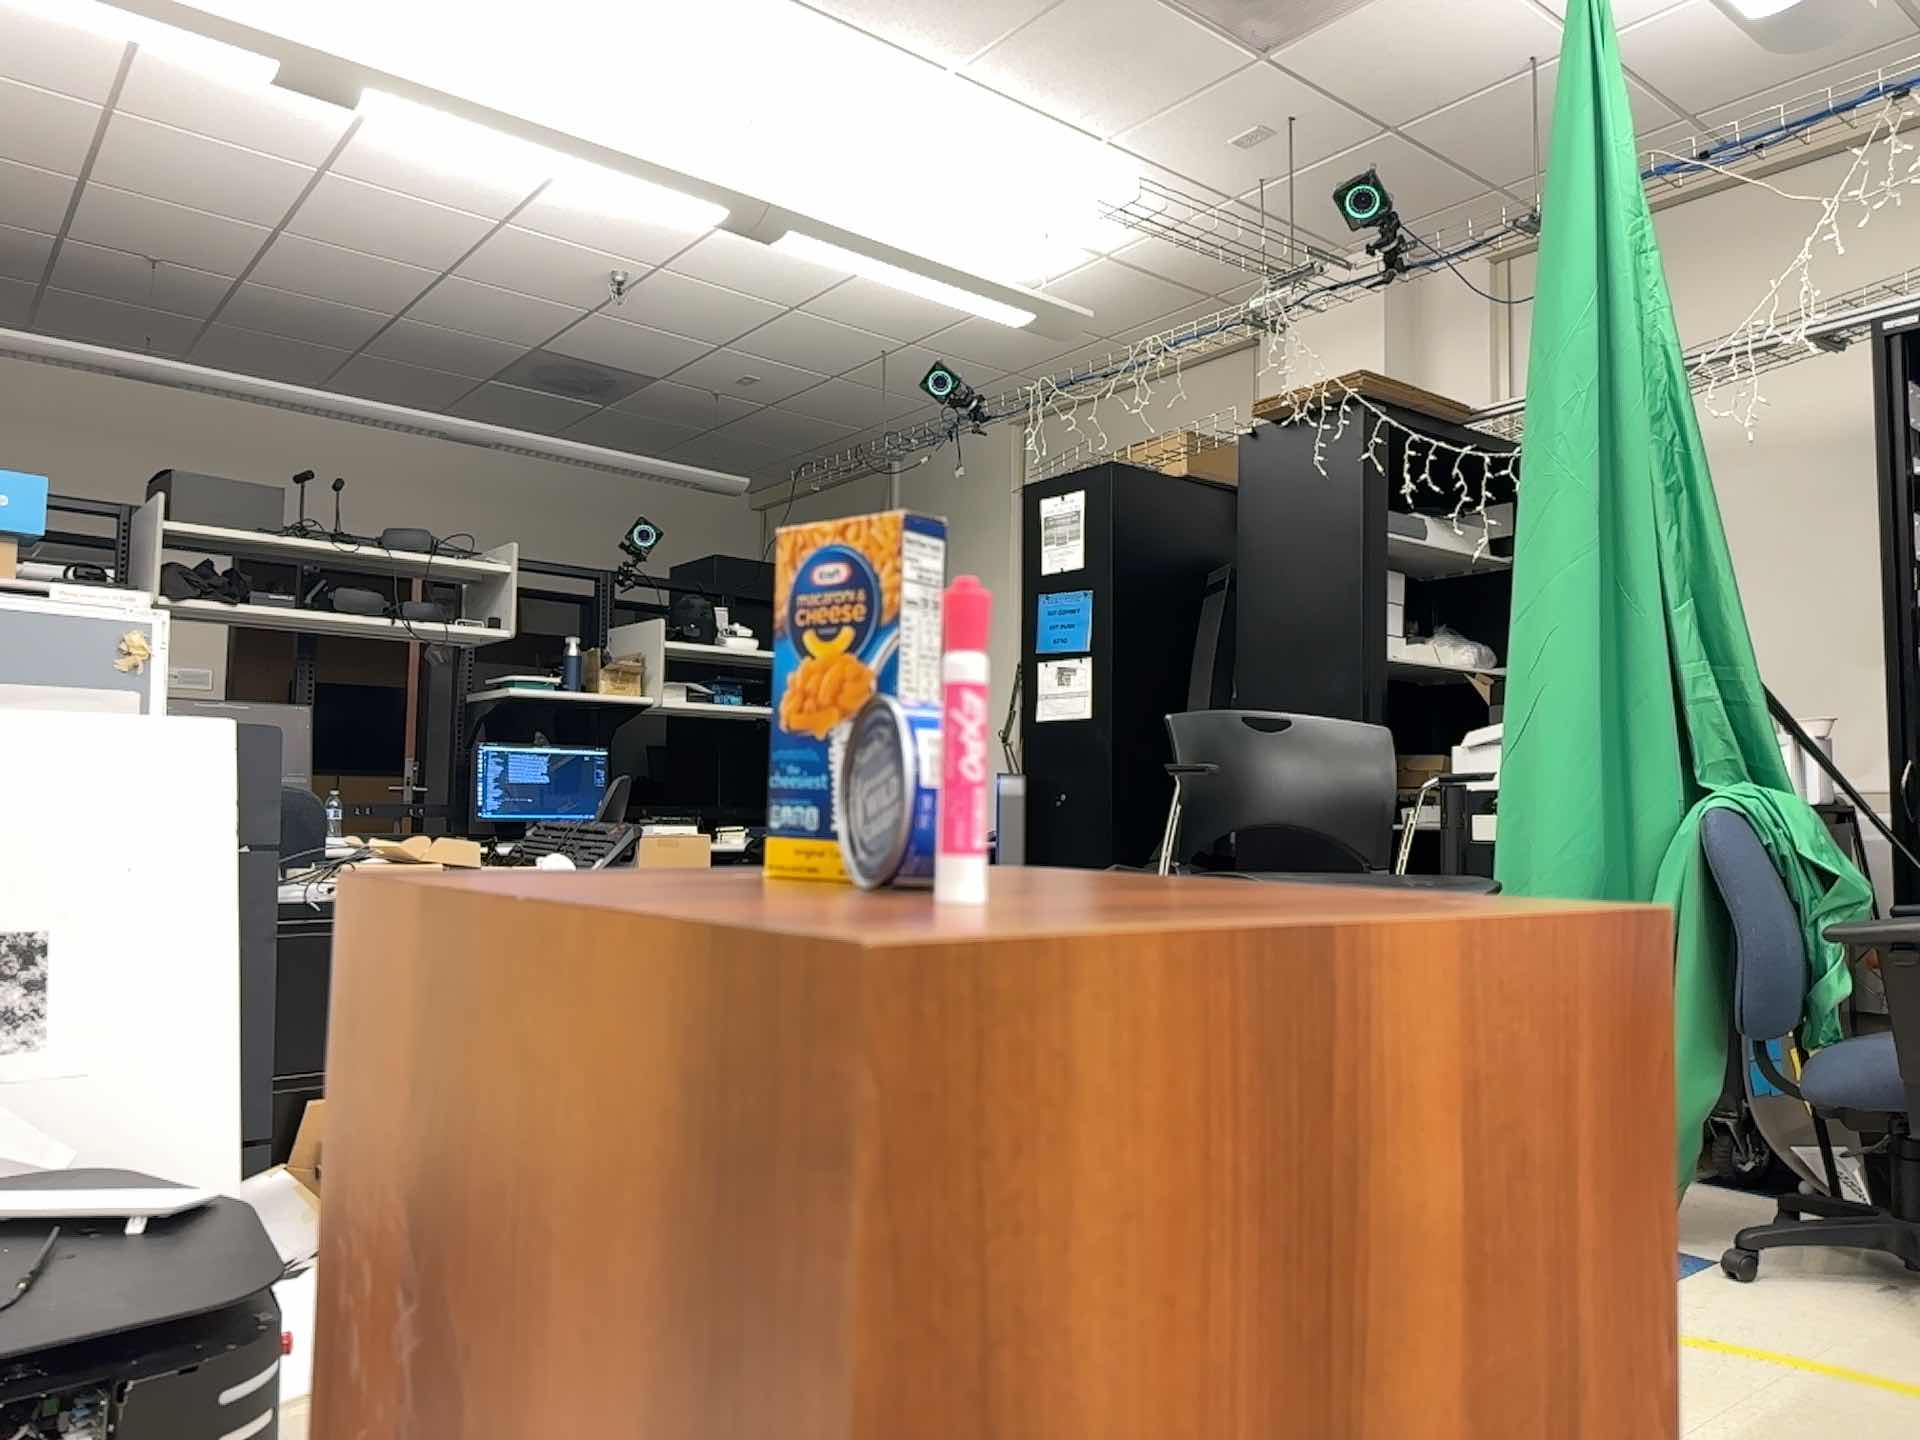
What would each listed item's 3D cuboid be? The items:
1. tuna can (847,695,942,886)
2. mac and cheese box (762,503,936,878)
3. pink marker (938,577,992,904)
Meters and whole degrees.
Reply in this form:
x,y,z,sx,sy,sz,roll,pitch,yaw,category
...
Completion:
x,y,z,sx,sy,sz,roll,pitch,yaw,category
-0.023,0.031,0.600,0.034,0.083,0.083,3,-3,-21,tuna can
-0.058,-0.013,0.689,0.088,0.181,0.035,-2,-4,43,mac and cheese box
0.002,0.007,0.501,0.020,0.121,0.020,1,-3,0,pink marker
